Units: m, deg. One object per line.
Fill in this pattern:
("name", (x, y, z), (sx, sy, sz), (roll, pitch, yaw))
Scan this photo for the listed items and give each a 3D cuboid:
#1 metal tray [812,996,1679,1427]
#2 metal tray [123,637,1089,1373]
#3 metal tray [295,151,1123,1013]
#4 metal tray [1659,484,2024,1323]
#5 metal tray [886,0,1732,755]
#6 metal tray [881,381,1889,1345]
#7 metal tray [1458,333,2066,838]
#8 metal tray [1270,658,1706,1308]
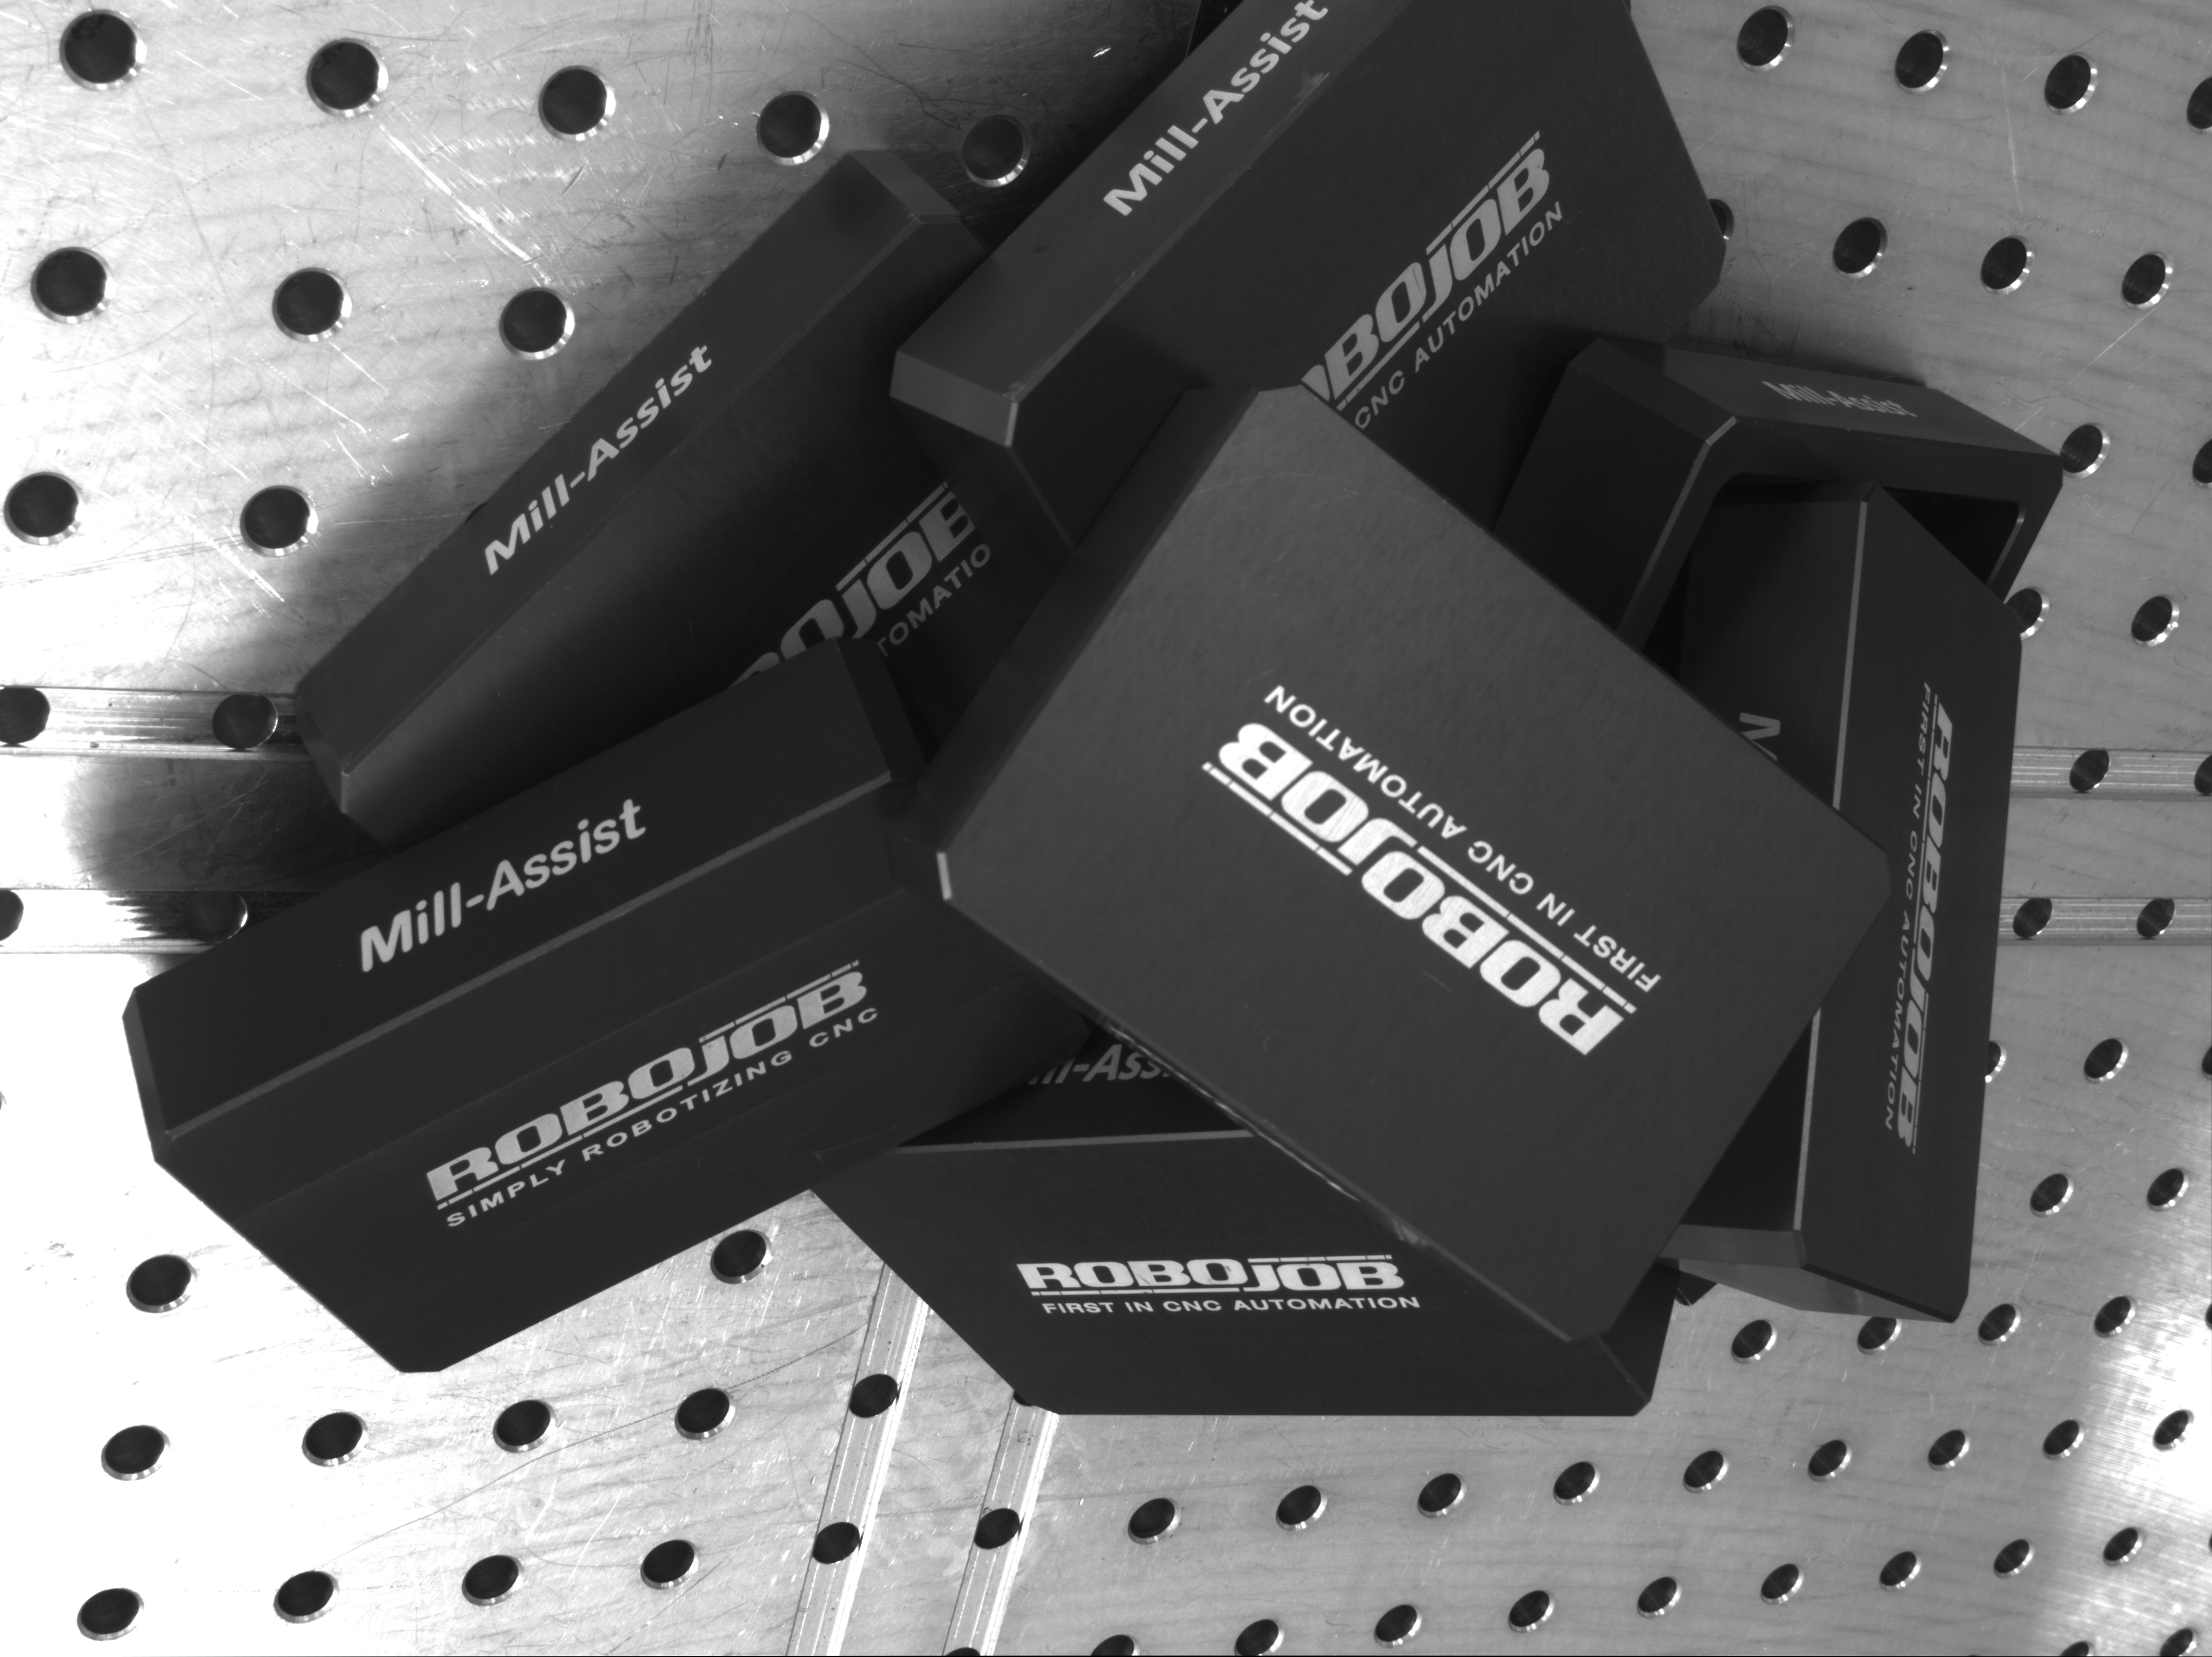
("metal tray", (0.022, 0.067, 0.634), (0.090, 0.130, 0.030), (51, 47, -40))
("metal tray", (-0.077, 0.031, 0.586), (0.130, 0.030, 0.090), (-27, 144, 3))
("metal tray", (-0.053, -0.032, 0.589), (0.130, 0.030, 0.090), (-44, 129, 2))
("metal tray", (0.126, 0.015, 0.634), (0.090, 0.030, 0.130), (24, 70, -57))
("metal tray", (0.036, -0.081, 0.583), (0.130, 0.030, 0.090), (-47, 132, -14))
("metal tray", (0.043, 0.006, 0.551), (0.130, 0.030, 0.090), (36, 84, -19))
("metal tray", (0.111, -0.035, 0.647), (0.130, 0.030, 0.090), (-1, 120, -50))
("metal tray", (0.067, 0.017, 0.646), (0.030, 0.090, 0.130), (-39, 128, -1))
